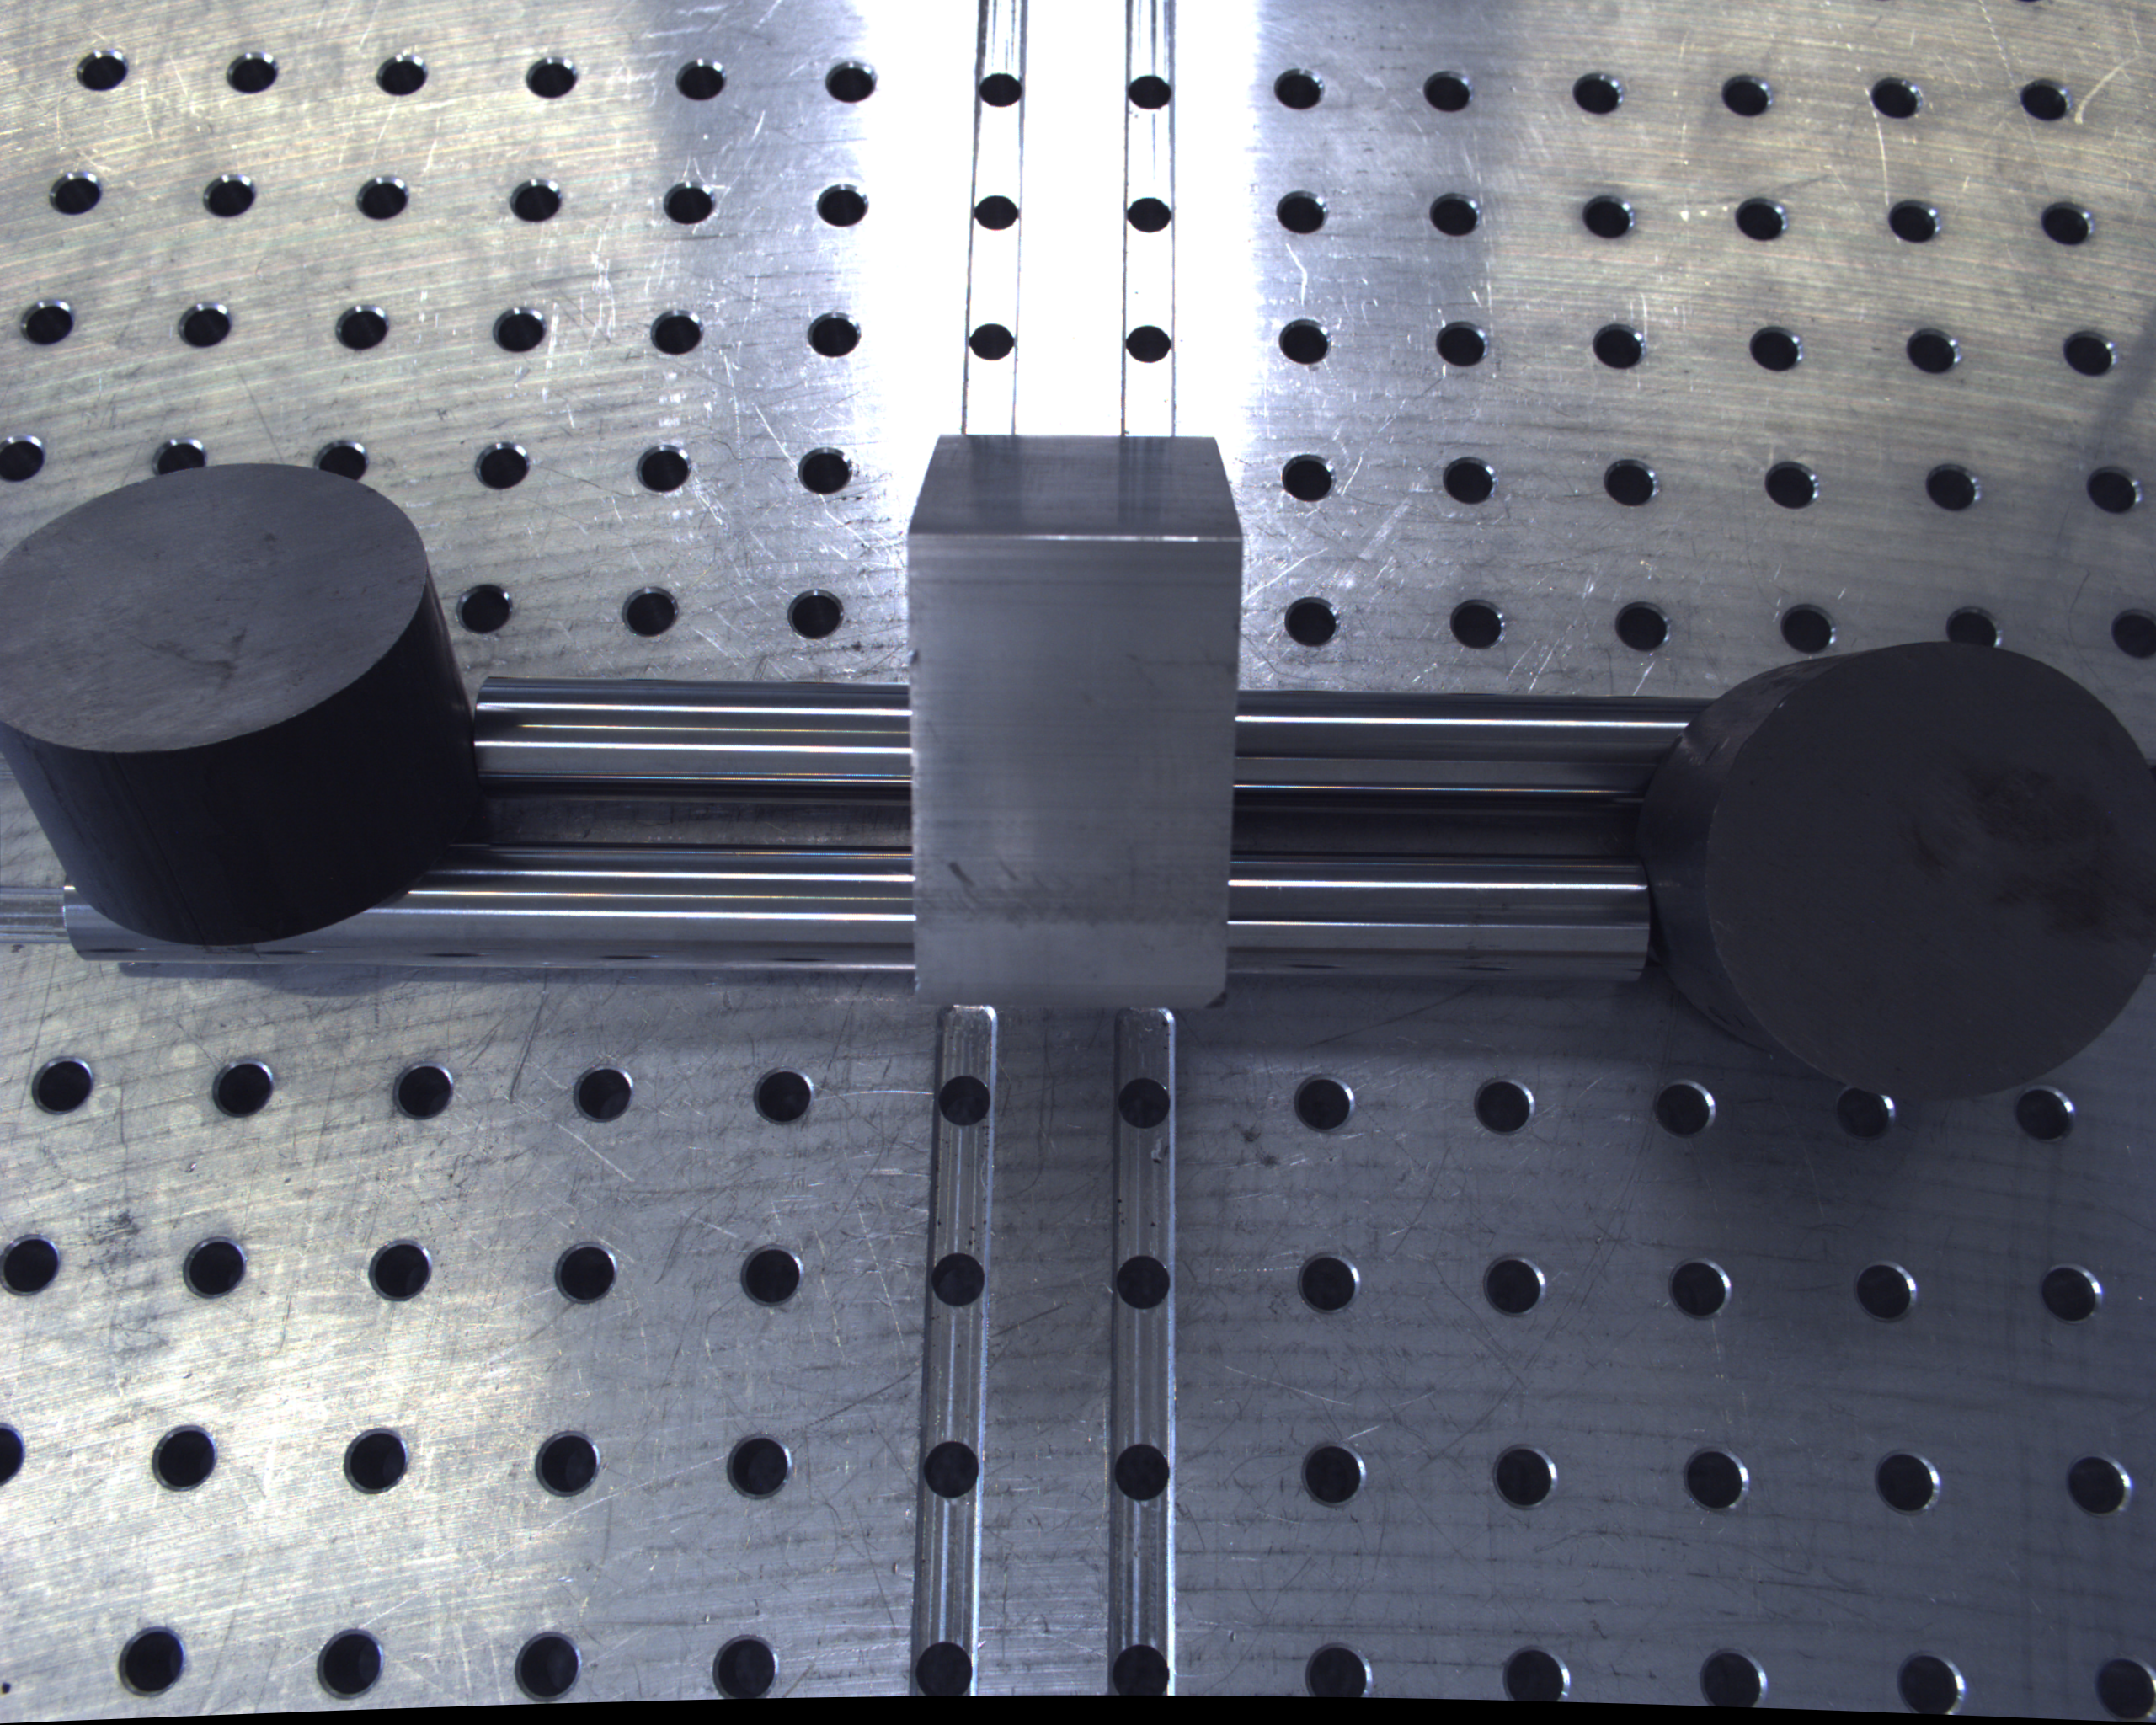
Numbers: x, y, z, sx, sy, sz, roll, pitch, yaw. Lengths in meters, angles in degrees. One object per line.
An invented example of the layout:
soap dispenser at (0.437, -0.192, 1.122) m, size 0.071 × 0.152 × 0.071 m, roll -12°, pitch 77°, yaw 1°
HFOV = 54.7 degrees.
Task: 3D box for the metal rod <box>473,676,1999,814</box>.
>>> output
metal rod at (0.033, -0.023, 0.420) m, size 0.302 × 0.025 × 0.025 m, roll 1°, pitch 70°, yaw 0°

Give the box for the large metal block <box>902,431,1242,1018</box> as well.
large metal block at (-0.001, -0.027, 0.360) m, size 0.050 × 0.080 × 0.079 m, roll 1°, pitch 112°, yaw 0°

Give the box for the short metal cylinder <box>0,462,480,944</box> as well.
short metal cylinder at (-0.159, -0.031, 0.393) m, size 0.081 × 0.050 × 0.080 m, roll 0°, pitch 47°, yaw 0°

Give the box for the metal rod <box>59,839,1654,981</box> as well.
metal rod at (-0.042, 0.009, 0.407) m, size 0.302 × 0.025 × 0.025 m, roll 1°, pitch 70°, yaw 0°

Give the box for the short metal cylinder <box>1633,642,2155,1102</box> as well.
short metal cylinder at (0.149, 0.001, 0.385) m, size 0.081 × 0.050 × 0.079 m, roll 0°, pitch 92°, yaw 0°
